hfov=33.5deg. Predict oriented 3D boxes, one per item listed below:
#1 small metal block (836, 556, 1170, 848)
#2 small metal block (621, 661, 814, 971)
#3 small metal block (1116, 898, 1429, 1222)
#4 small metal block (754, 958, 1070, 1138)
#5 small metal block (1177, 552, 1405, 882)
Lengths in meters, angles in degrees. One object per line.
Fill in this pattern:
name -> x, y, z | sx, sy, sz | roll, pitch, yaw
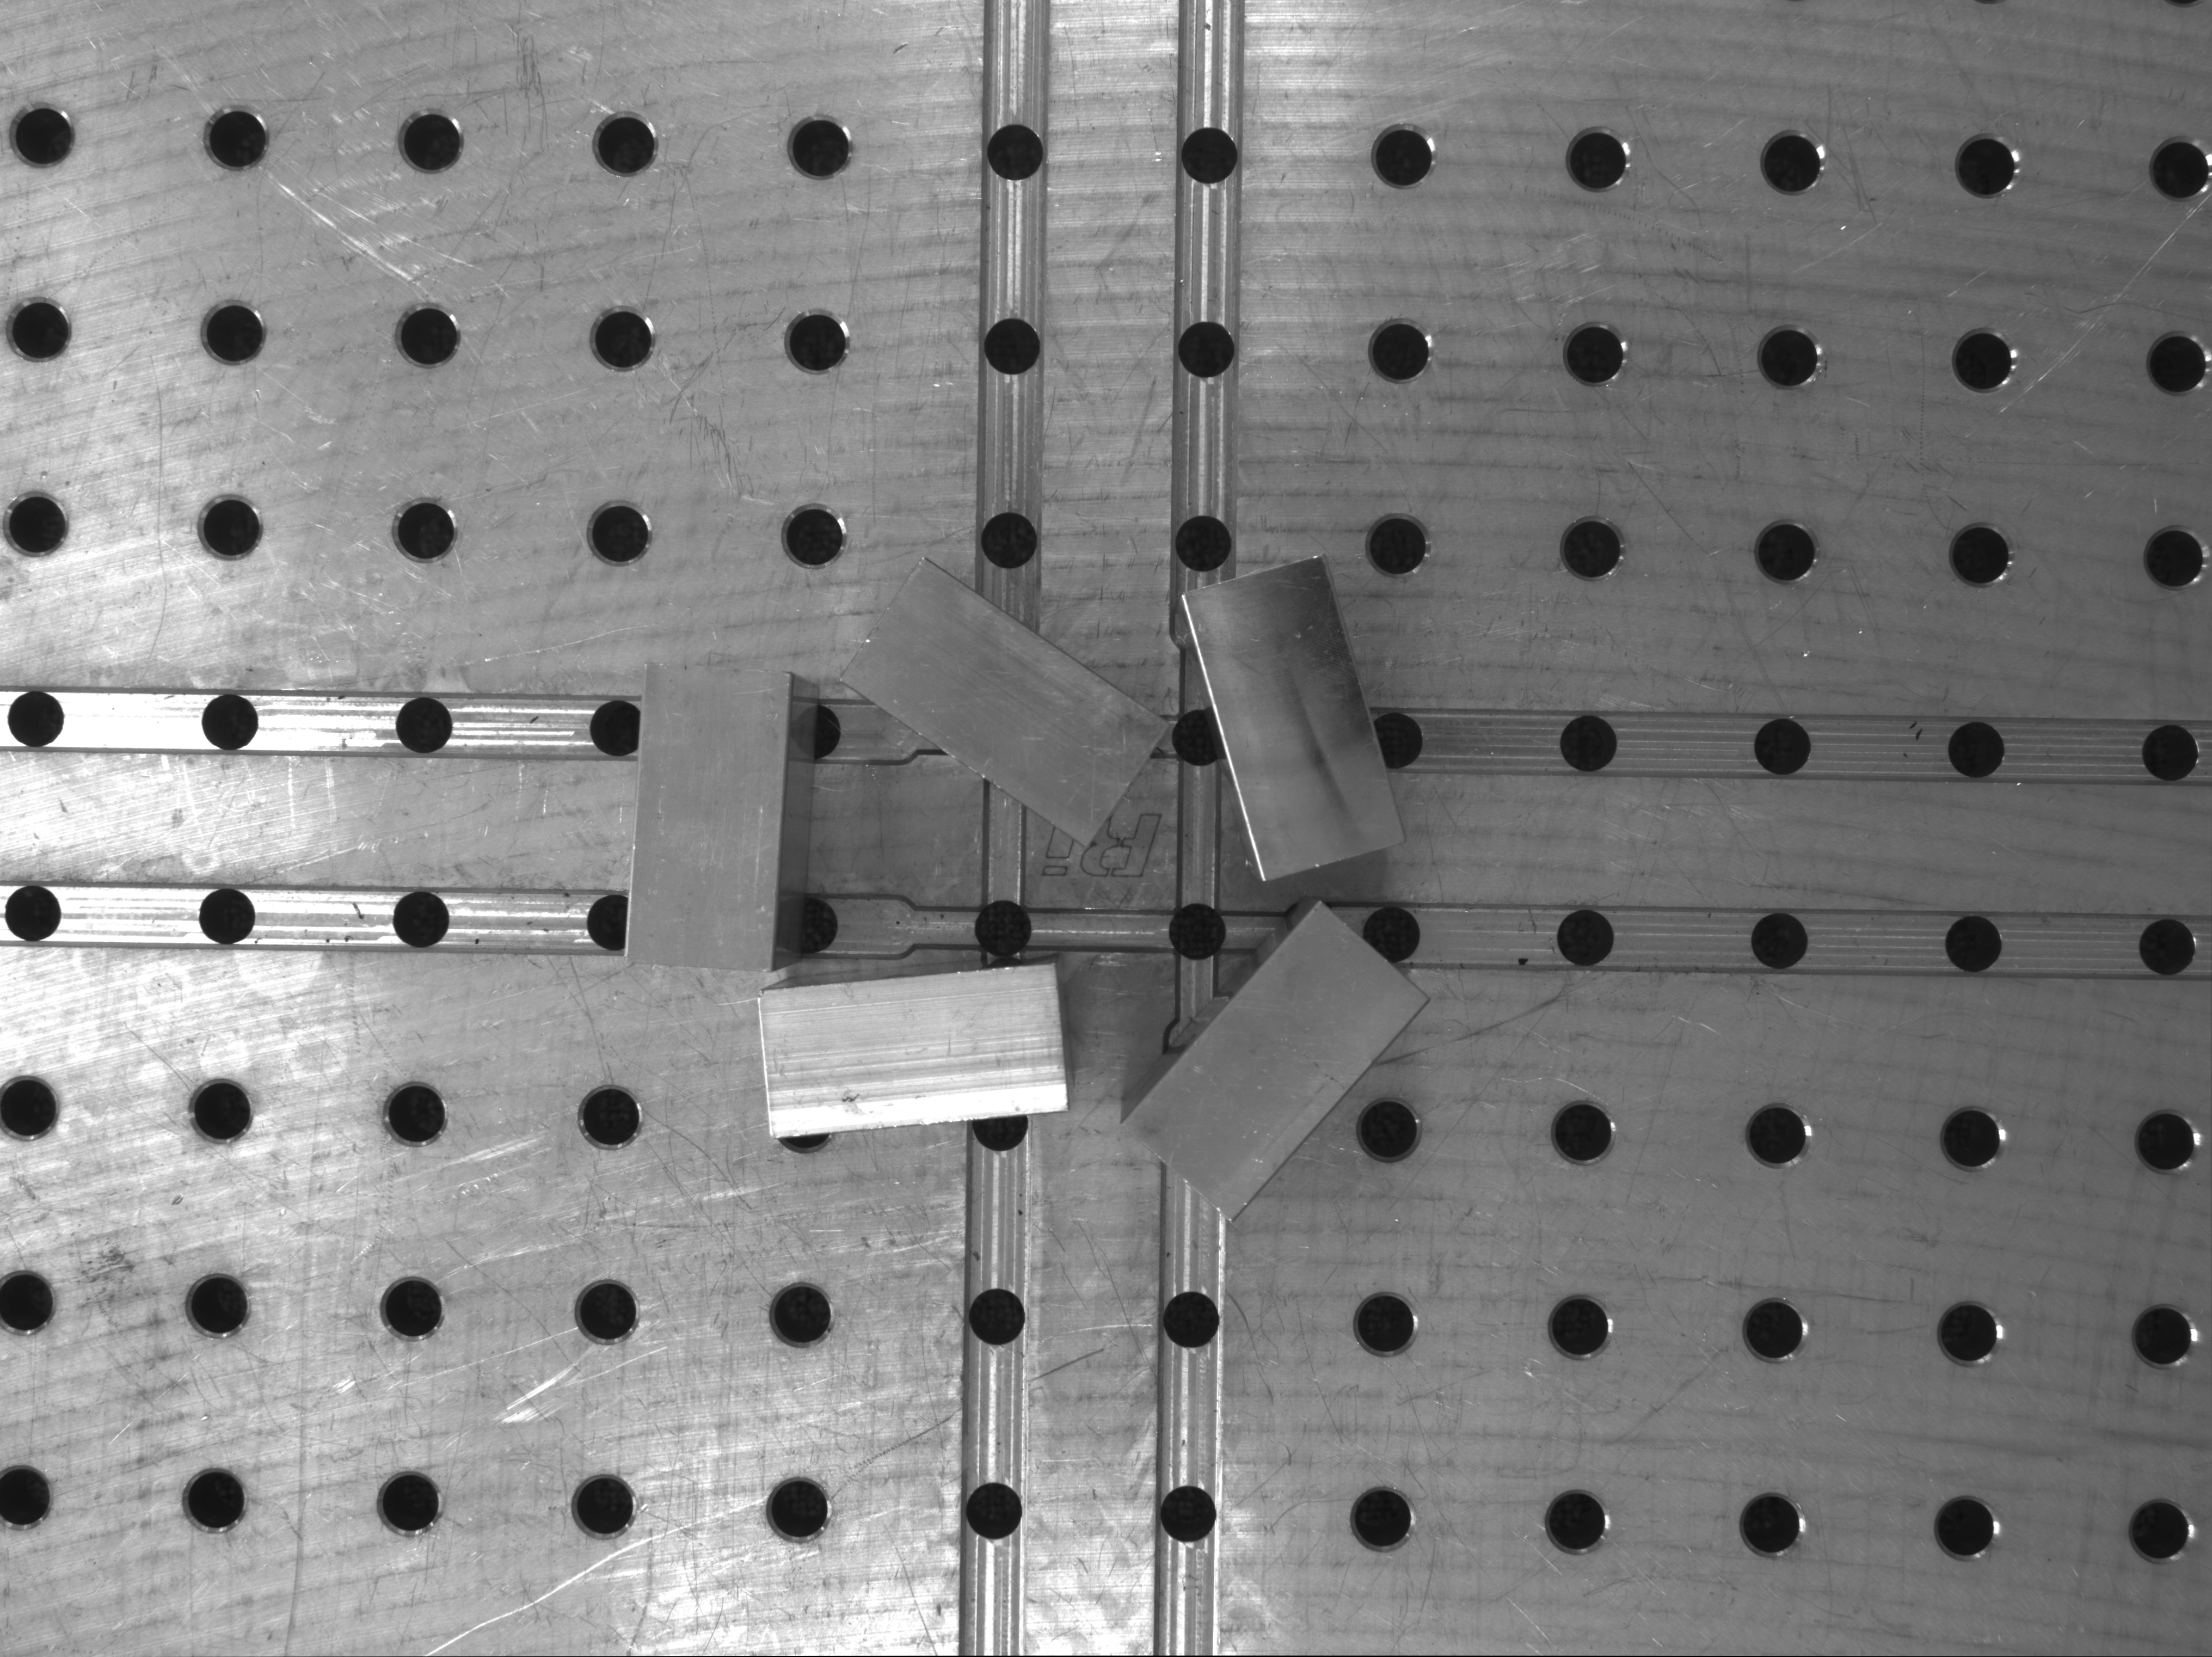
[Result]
small metal block -> -0.017, -0.021, 0.636 | 0.050, 0.050, 0.025 | 34, 91, 0
small metal block -> -0.066, -0.002, 0.636 | 0.025, 0.050, 0.050 | 4, 90, 1
small metal block -> 0.028, 0.039, 0.635 | 0.025, 0.050, 0.050 | 42, 90, 1
small metal block -> -0.032, 0.037, 0.635 | 0.050, 0.050, 0.025 | -5, 90, 0
small metal block -> 0.031, -0.018, 0.635 | 0.025, 0.050, 0.050 | -16, 89, 0
